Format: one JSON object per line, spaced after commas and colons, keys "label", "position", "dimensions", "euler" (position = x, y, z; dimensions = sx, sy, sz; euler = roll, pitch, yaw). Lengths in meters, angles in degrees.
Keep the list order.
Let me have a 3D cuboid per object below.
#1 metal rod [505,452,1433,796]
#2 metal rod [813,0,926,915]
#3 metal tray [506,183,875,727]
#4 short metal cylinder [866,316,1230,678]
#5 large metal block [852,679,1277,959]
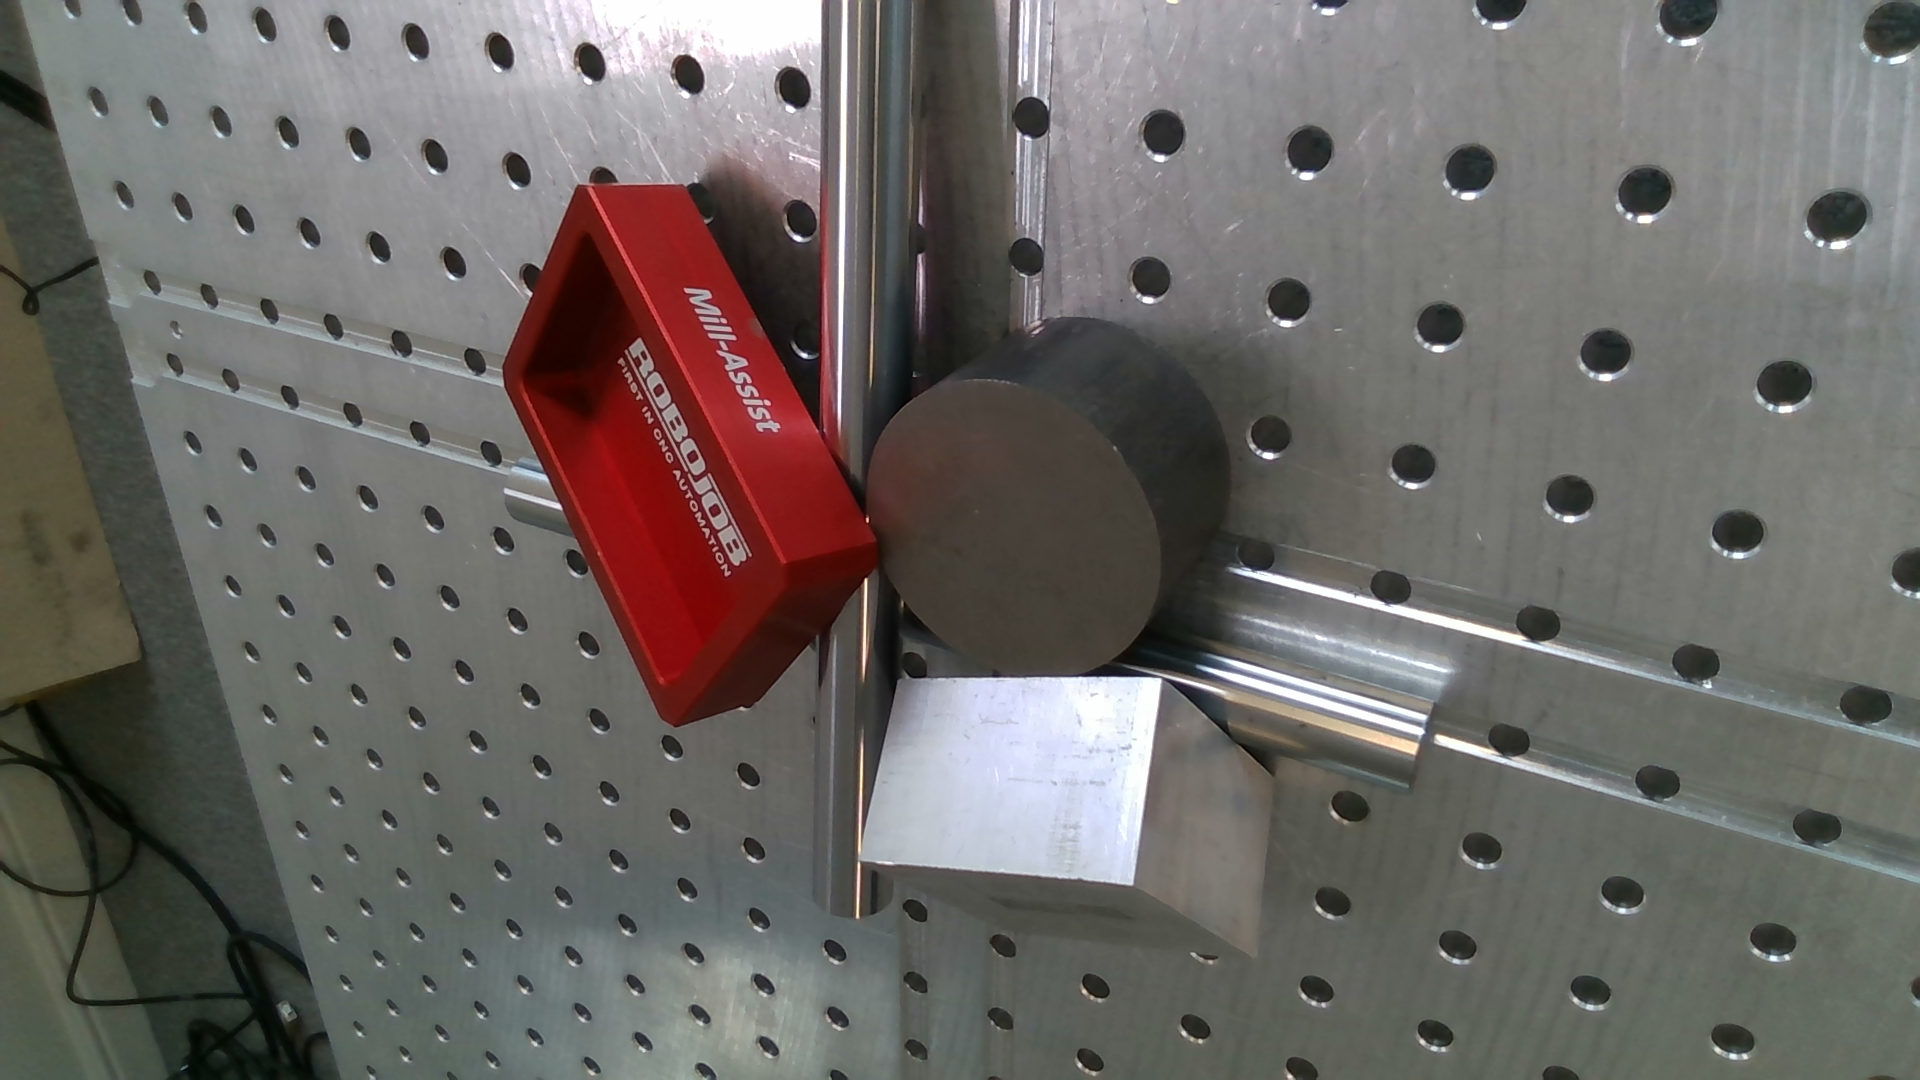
{"label": "metal rod", "position": [-0.015, 0.017, 0.411], "dimensions": [0.300, 0.025, 0.025], "euler": [15, 122, 25]}
{"label": "metal rod", "position": [-0.026, -0.031, 0.370], "dimensions": [0.025, 0.025, 0.301], "euler": [14, 115, 25]}
{"label": "metal tray", "position": [-0.082, -0.024, 0.393], "dimensions": [0.090, 0.030, 0.130], "euler": [-47, 66, 45]}
{"label": "short metal cylinder", "position": [0.023, -0.012, 0.355], "dimensions": [0.080, 0.050, 0.080], "euler": [15, 122, 25]}
{"label": "large metal block", "position": [0.031, 0.075, 0.373], "dimensions": [0.080, 0.050, 0.080], "euler": [-4, 153, 33]}
